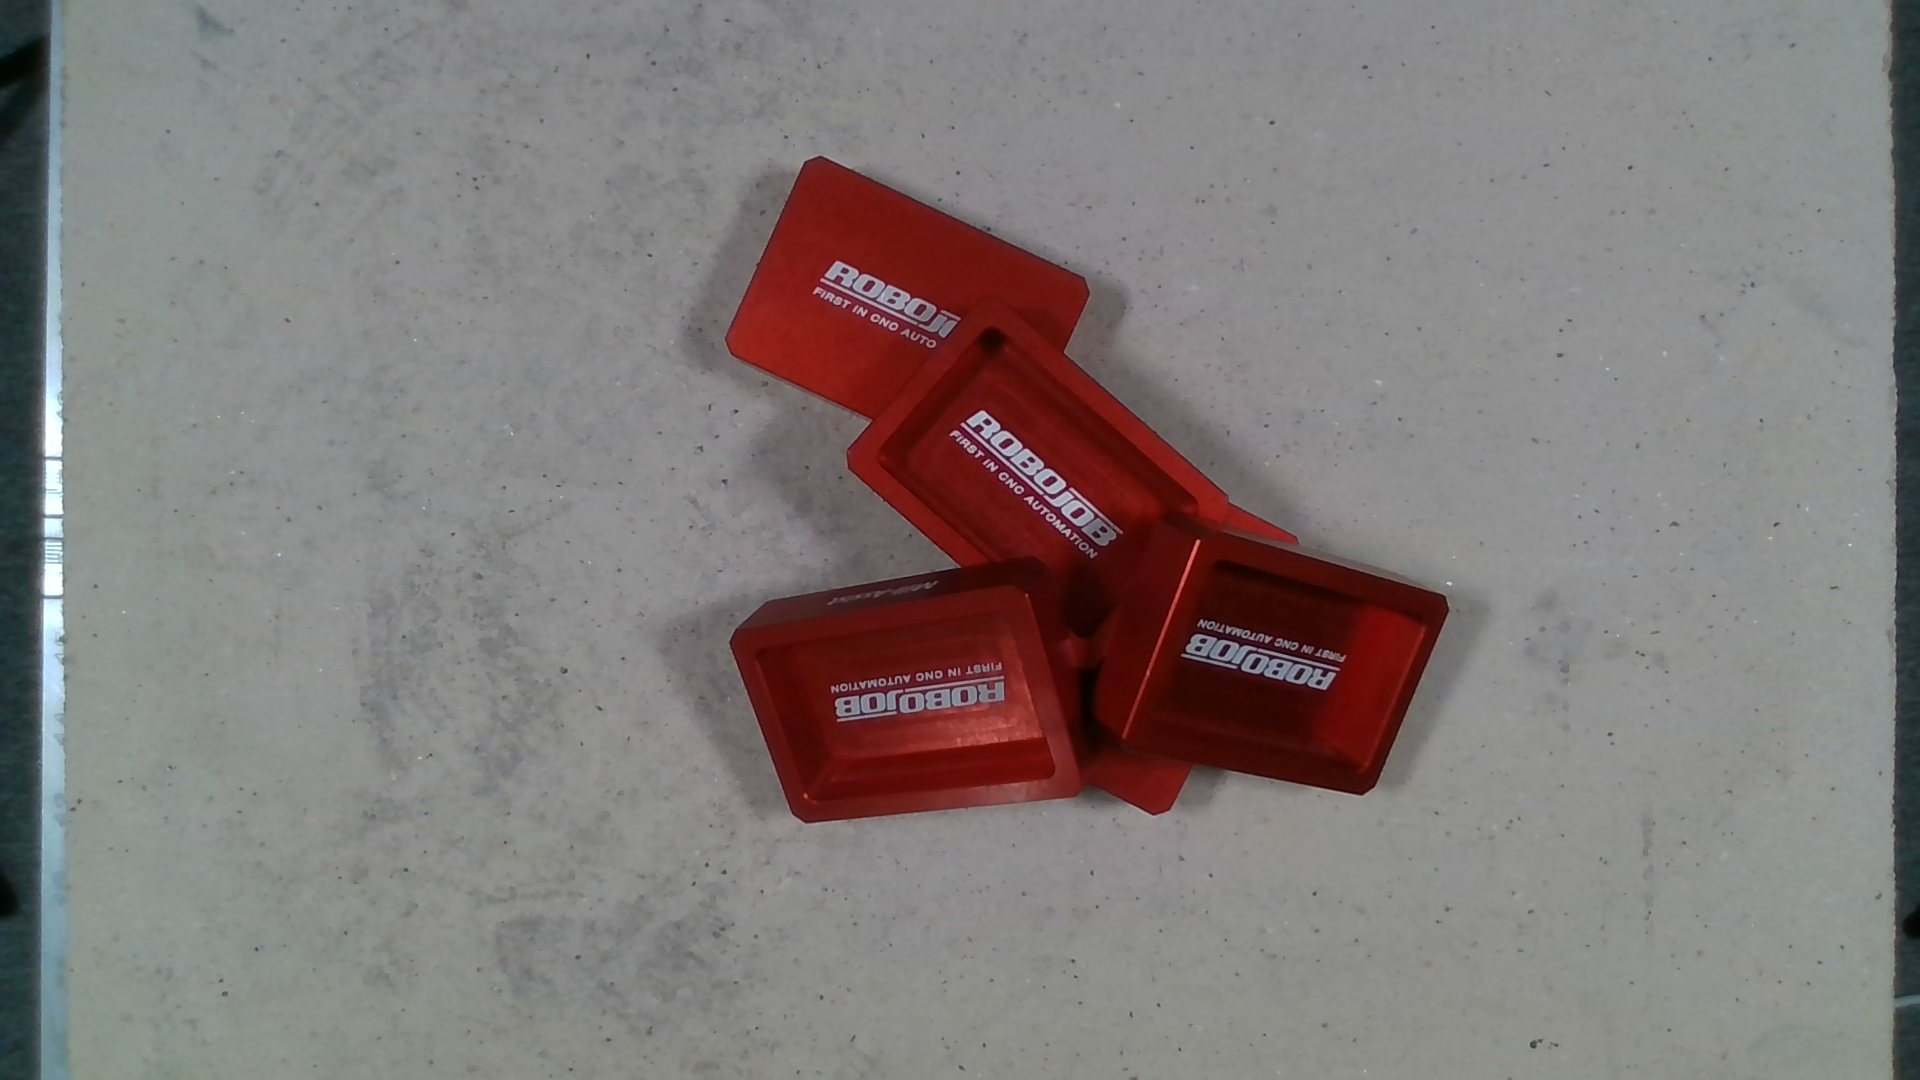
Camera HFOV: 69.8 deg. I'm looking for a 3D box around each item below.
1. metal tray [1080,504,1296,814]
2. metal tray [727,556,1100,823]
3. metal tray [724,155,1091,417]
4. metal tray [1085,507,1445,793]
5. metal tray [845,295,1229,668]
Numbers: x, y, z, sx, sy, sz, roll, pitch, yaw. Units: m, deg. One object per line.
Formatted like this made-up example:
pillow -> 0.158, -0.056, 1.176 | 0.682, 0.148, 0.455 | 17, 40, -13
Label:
metal tray -> 0.074, 0.038, 0.585 | 0.090, 0.030, 0.130 | 27, 90, 0
metal tray -> -0.019, 0.062, 0.551 | 0.130, 0.030, 0.090 | -10, 108, 23
metal tray -> -0.022, -0.093, 0.583 | 0.130, 0.030, 0.090 | 24, 90, 0
metal tray -> 0.123, 0.046, 0.551 | 0.130, 0.030, 0.090 | 14, 102, -27
metal tray -> 0.030, -0.023, 0.554 | 0.130, 0.030, 0.090 | 41, 90, 0
